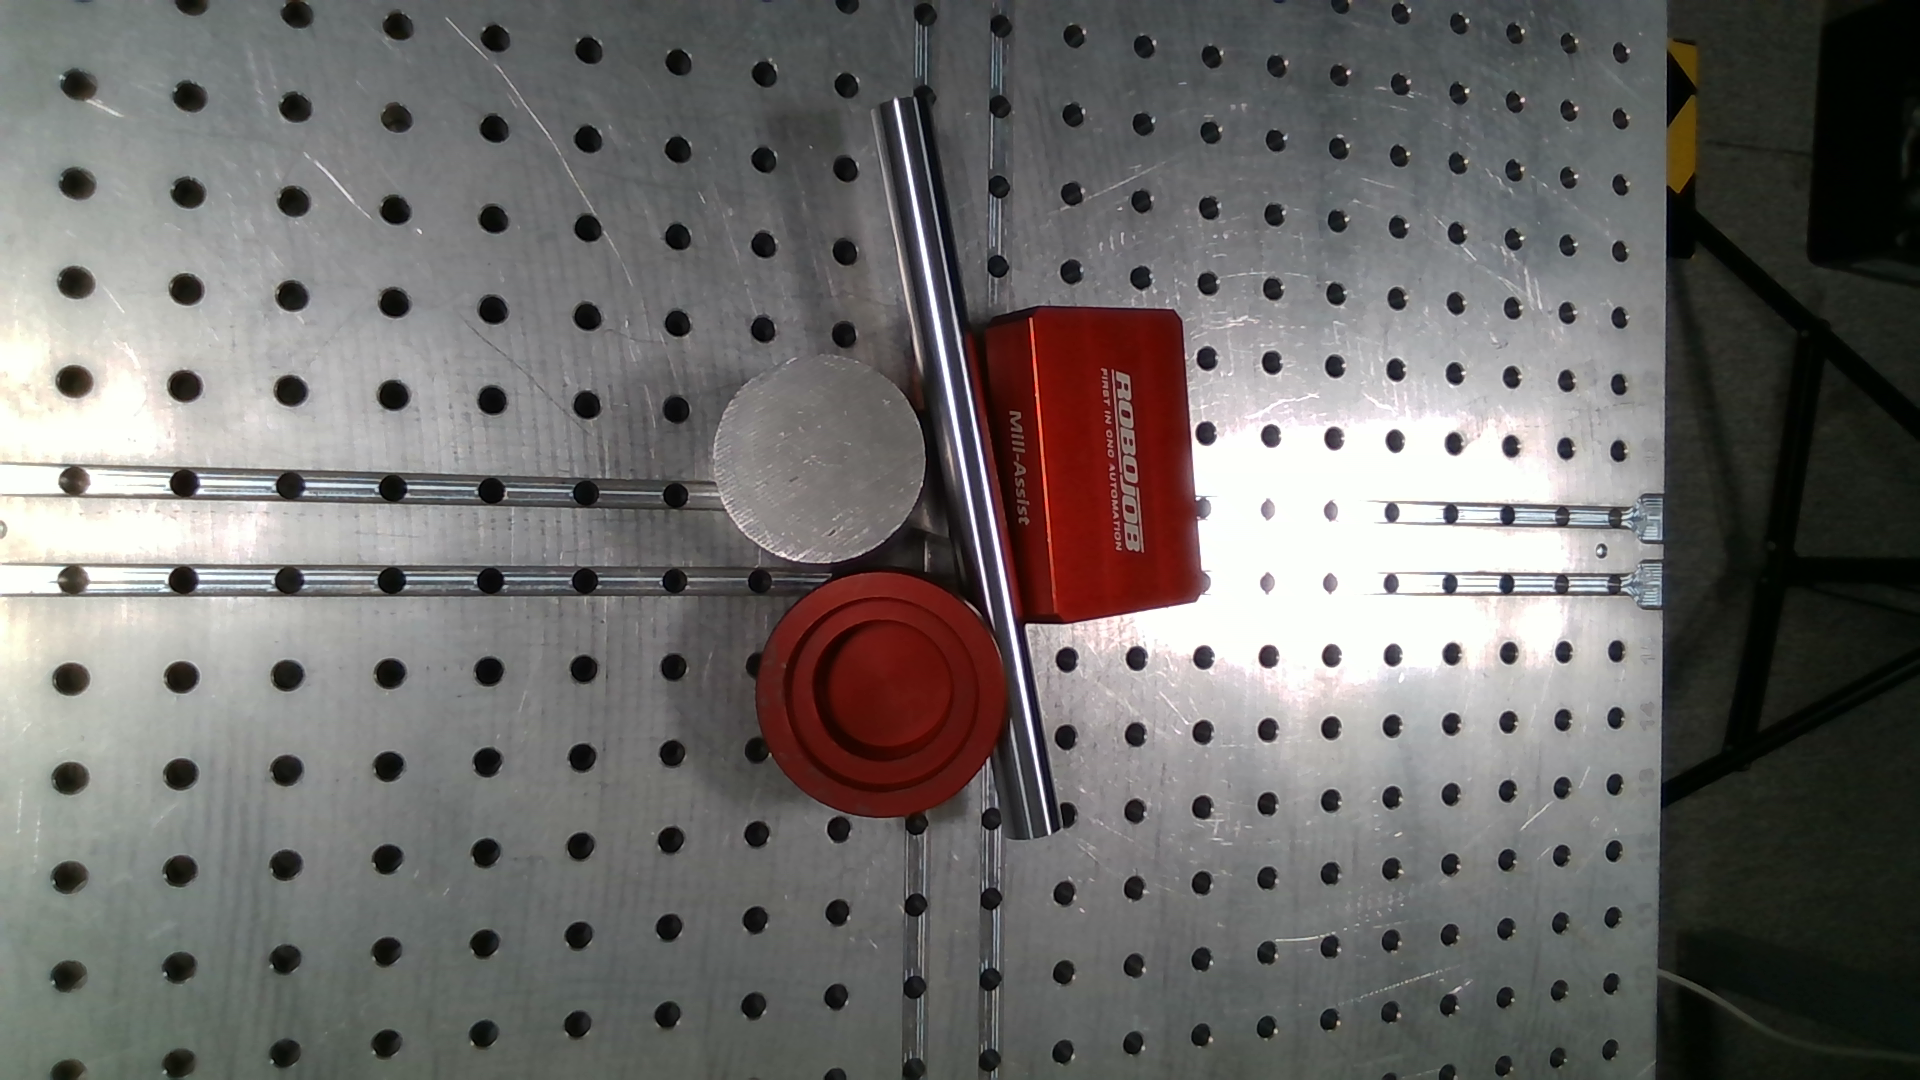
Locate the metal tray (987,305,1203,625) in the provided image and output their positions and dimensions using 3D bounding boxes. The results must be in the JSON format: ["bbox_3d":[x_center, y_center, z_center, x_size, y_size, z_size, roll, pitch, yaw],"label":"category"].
[{"bbox_3d":[0.060,-0.033,0.593,0.090,0.030,0.130,-7,93,-39],"label":"metal tray"}]

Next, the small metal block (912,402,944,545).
[{"bbox_3d":[-0.016,-0.029,0.591,0.050,0.025,0.050,19,84,-19],"label":"small metal block"}]

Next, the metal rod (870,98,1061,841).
[{"bbox_3d":[0.003,-0.026,0.562,0.025,0.025,0.300,-12,94,-20],"label":"metal rod"}]

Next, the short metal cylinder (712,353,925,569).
[{"bbox_3d":[-0.054,-0.029,0.542,0.080,0.050,0.080,0,85,-2],"label":"short metal cylinder"}]

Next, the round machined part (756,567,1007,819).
[{"bbox_3d":[-0.030,0.059,0.556,0.098,0.042,0.098,0,94,2],"label":"round machined part"}]
